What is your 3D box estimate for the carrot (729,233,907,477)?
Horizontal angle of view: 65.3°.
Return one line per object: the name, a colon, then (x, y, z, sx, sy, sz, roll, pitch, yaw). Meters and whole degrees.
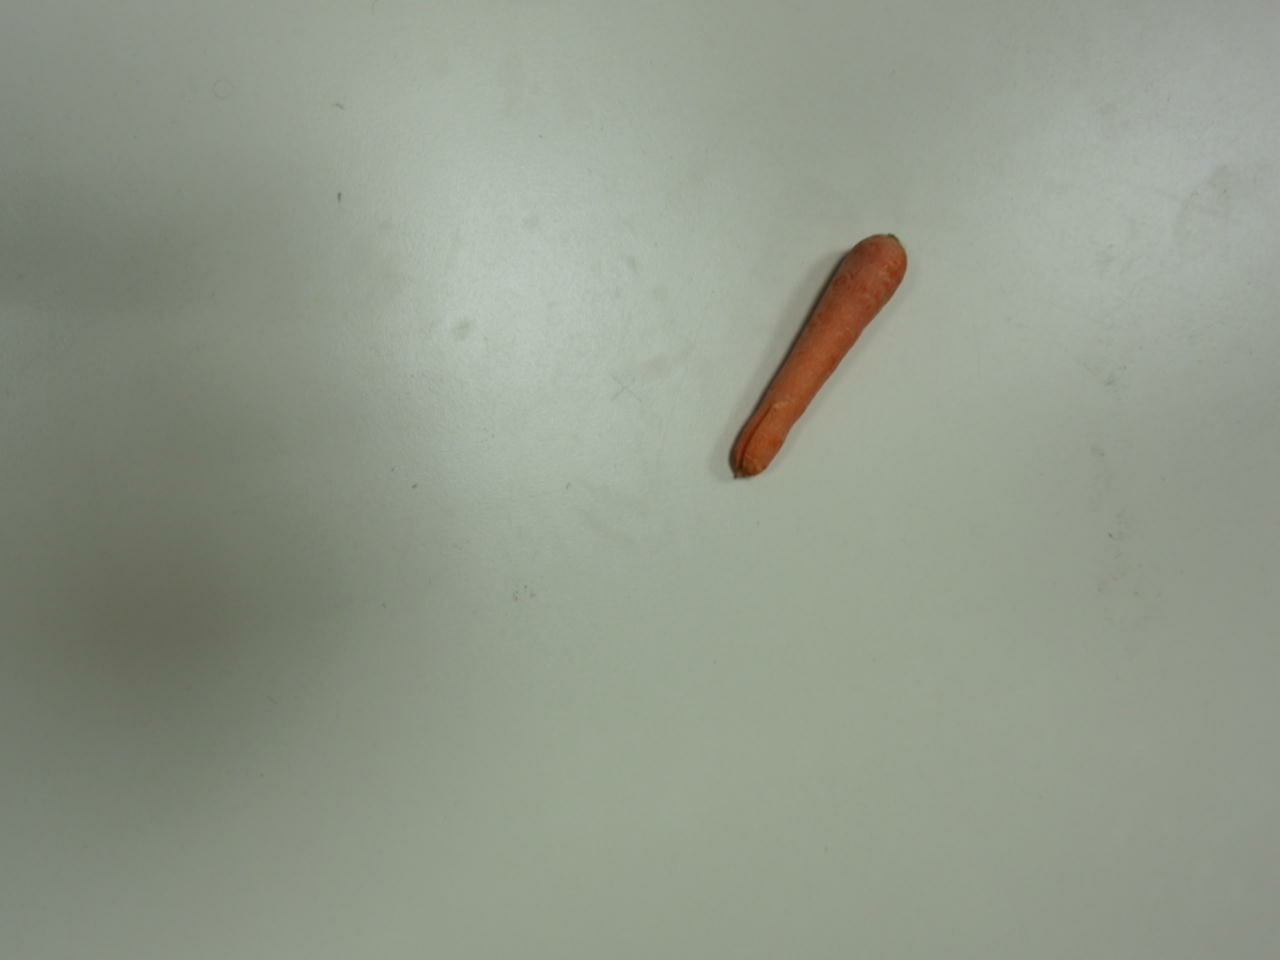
carrot: (0.082, -0.059, 0.466, 0.030, 0.032, 0.136, 35, 83, -10)
